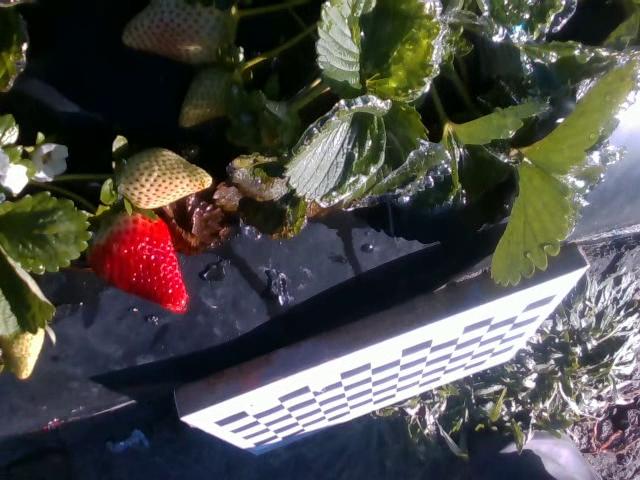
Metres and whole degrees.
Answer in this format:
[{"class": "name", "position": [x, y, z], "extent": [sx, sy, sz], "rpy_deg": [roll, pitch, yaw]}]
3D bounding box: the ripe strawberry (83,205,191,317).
[{"class": "ripe strawberry", "position": [-0.075, 0.012, 0.267], "extent": [0.040, 0.053, 0.042], "rpy_deg": [-40, -3, 27]}]
